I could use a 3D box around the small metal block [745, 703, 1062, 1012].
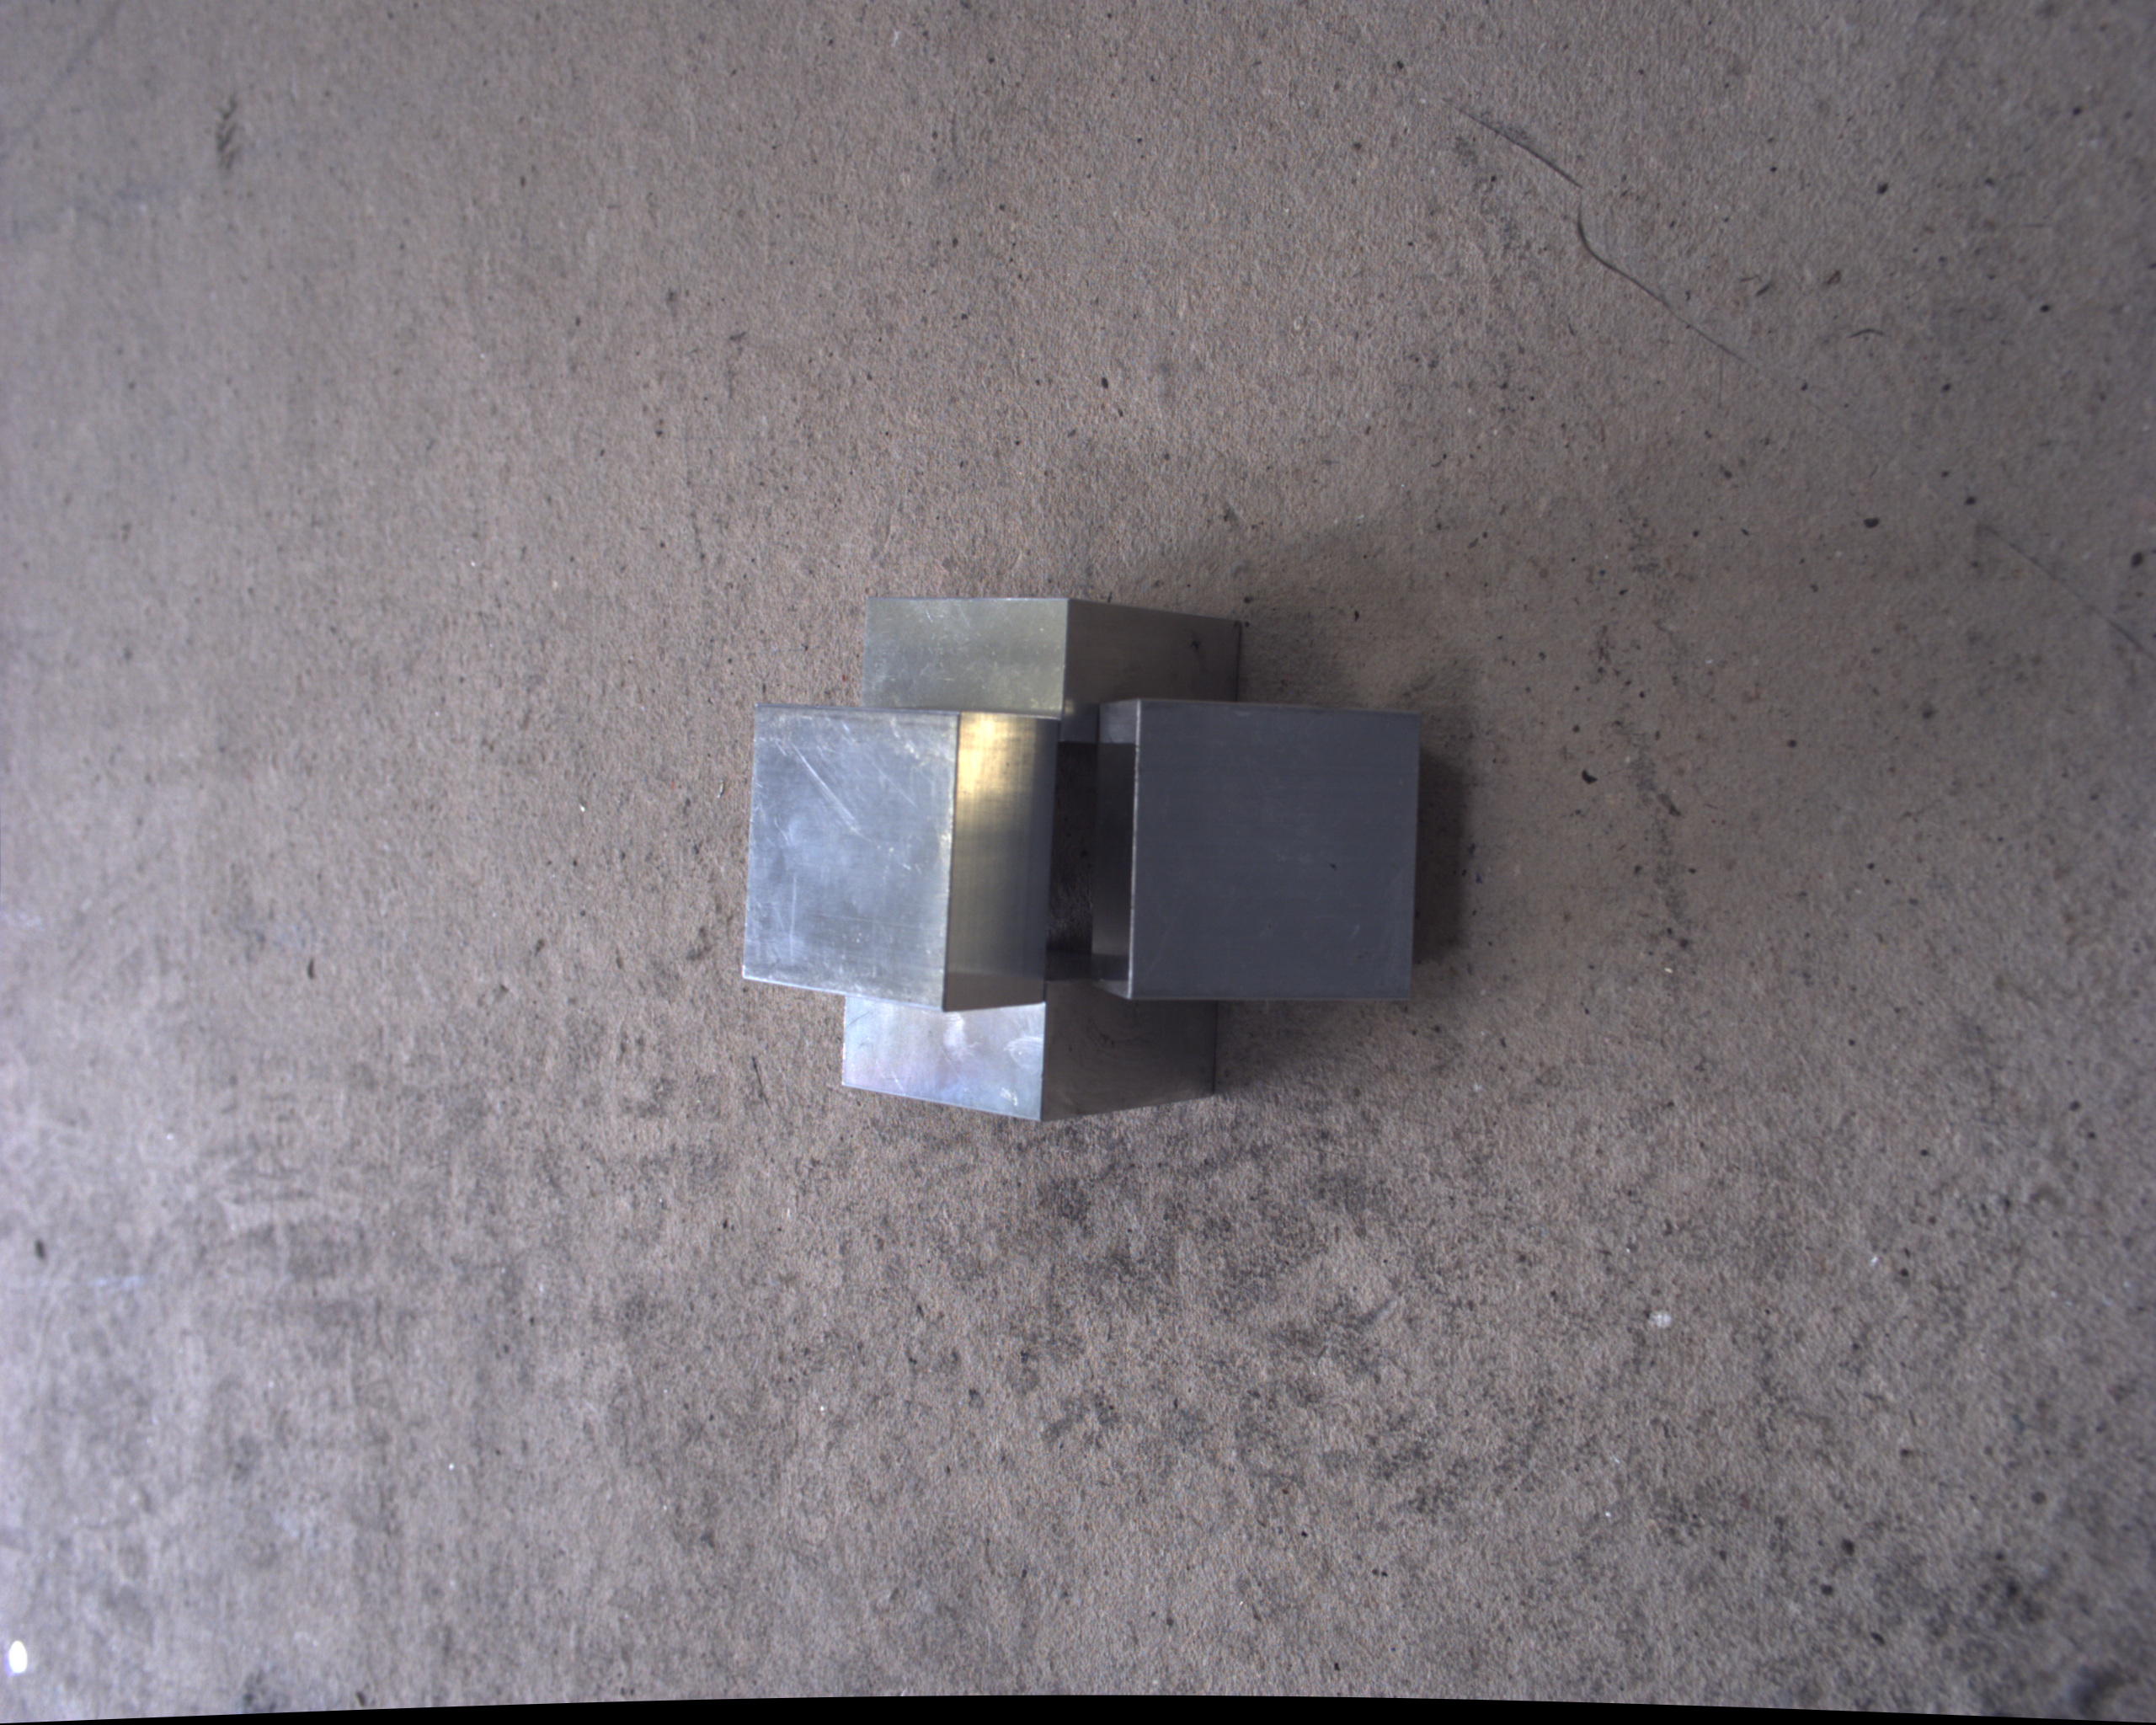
[{"bbox_3d":[-0.031,-0.002,0.368,0.050,0.025,0.050,5,94,40],"label":"small metal block"}]

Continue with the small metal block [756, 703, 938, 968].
[{"bbox_3d":[-0.046,-0.006,0.426,0.025,0.050,0.050,4,93,5],"label":"small metal block"}]

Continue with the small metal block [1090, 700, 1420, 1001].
[{"bbox_3d":[0.030,-0.002,0.362,0.025,0.050,0.050,-172,84,-75],"label":"small metal block"}]

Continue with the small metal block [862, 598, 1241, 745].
[{"bbox_3d":[-0.005,-0.035,0.395,0.050,0.050,0.025,6,95,40],"label":"small metal block"}]

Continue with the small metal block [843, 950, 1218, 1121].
[{"bbox_3d":[-0.009,0.031,0.398,0.050,0.050,0.025,4,93,40],"label":"small metal block"}]
